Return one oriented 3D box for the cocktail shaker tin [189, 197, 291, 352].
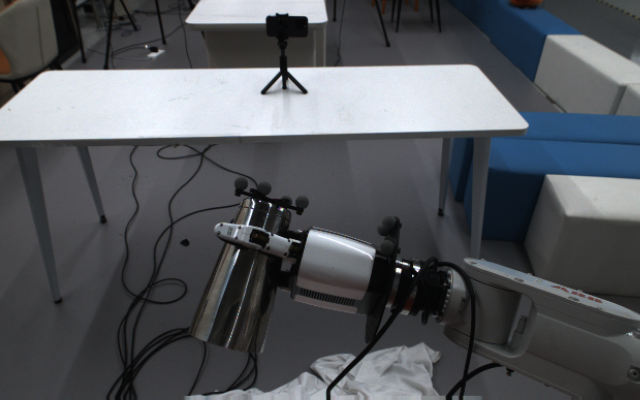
[{"bbox_3d":[-0.086,0.087,0.593,0.093,0.093,0.170,13,79,15],"label":"cocktail shaker tin"}]
